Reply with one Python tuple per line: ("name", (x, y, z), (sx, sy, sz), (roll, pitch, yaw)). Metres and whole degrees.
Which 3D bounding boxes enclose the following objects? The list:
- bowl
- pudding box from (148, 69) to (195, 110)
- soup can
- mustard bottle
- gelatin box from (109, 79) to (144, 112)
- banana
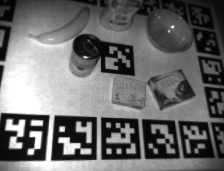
("bowl", (0.174, -0.167, 0.691), (0.163, 0.055, 0.161), (6, 66, -14))
("pudding box", (0.172, 0.009, 0.625), (0.115, 0.038, 0.090), (-20, 82, -24))
("soup can", (-0.078, -0.074, 0.531), (0.068, 0.101, 0.067), (8, 65, -16))
("mustard bottle", (0.032, -0.226, 0.576), (0.097, 0.191, 0.058), (4, 64, -16))
("gelatin box", (0.040, 0.027, 0.579), (0.090, 0.030, 0.073), (11, 69, -13))
("banana", (-0.132, -0.166, 0.596), (0.074, 0.039, 0.198), (39, 62, 11))
